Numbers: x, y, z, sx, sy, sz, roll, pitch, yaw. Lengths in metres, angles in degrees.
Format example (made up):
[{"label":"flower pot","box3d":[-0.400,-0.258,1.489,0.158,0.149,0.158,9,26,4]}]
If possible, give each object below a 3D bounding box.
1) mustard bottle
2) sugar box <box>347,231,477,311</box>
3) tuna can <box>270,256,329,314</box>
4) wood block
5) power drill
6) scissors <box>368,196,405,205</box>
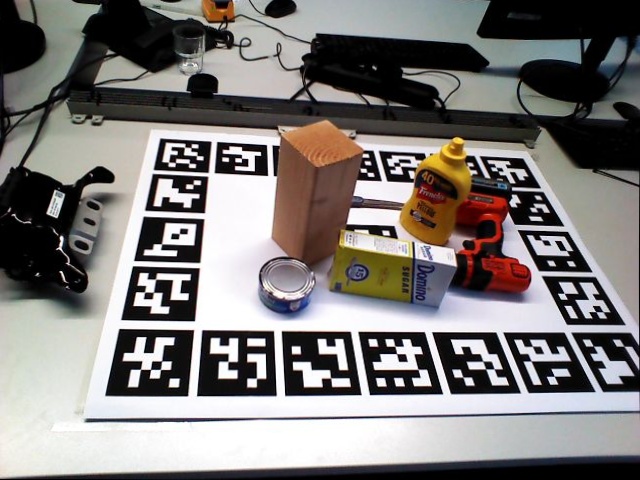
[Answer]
[{"label":"mustard bottle","box3d":[0.225,-0.076,0.853,0.058,0.192,0.096,-33,61,-33]},{"label":"sugar box","box3d":[0.135,0.050,0.777,0.177,0.093,0.045,12,43,-1]},{"label":"tuna can","box3d":[-0.031,0.066,0.766,0.086,0.034,0.085,5,47,-6]},{"label":"wood block","box3d":[0.011,-0.060,0.793,0.090,0.207,0.090,-21,55,-27]},{"label":"power drill","box3d":[0.268,0.003,0.867,0.185,0.057,0.185,11,53,1]},{"label":"scissors","box3d":[0.072,-0.071,0.933,0.203,0.016,0.087,3,42,-6]}]
